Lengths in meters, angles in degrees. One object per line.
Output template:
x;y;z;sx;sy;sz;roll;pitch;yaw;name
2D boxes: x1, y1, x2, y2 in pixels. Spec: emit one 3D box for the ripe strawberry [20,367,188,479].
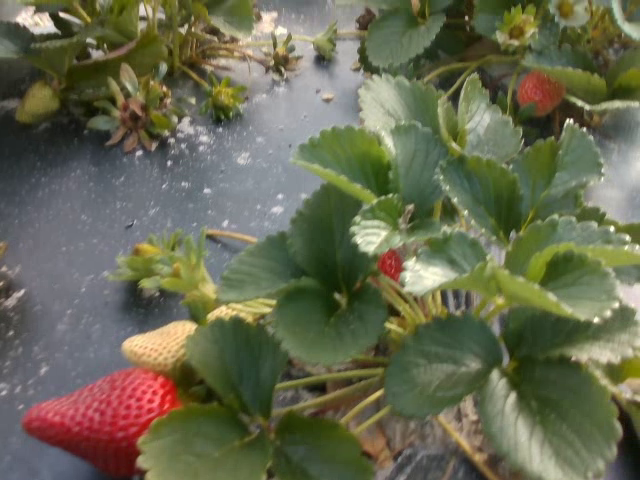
-0.089;0.067;0.246;0.055;0.048;0.051;13;-5;-26;ripe strawberry
